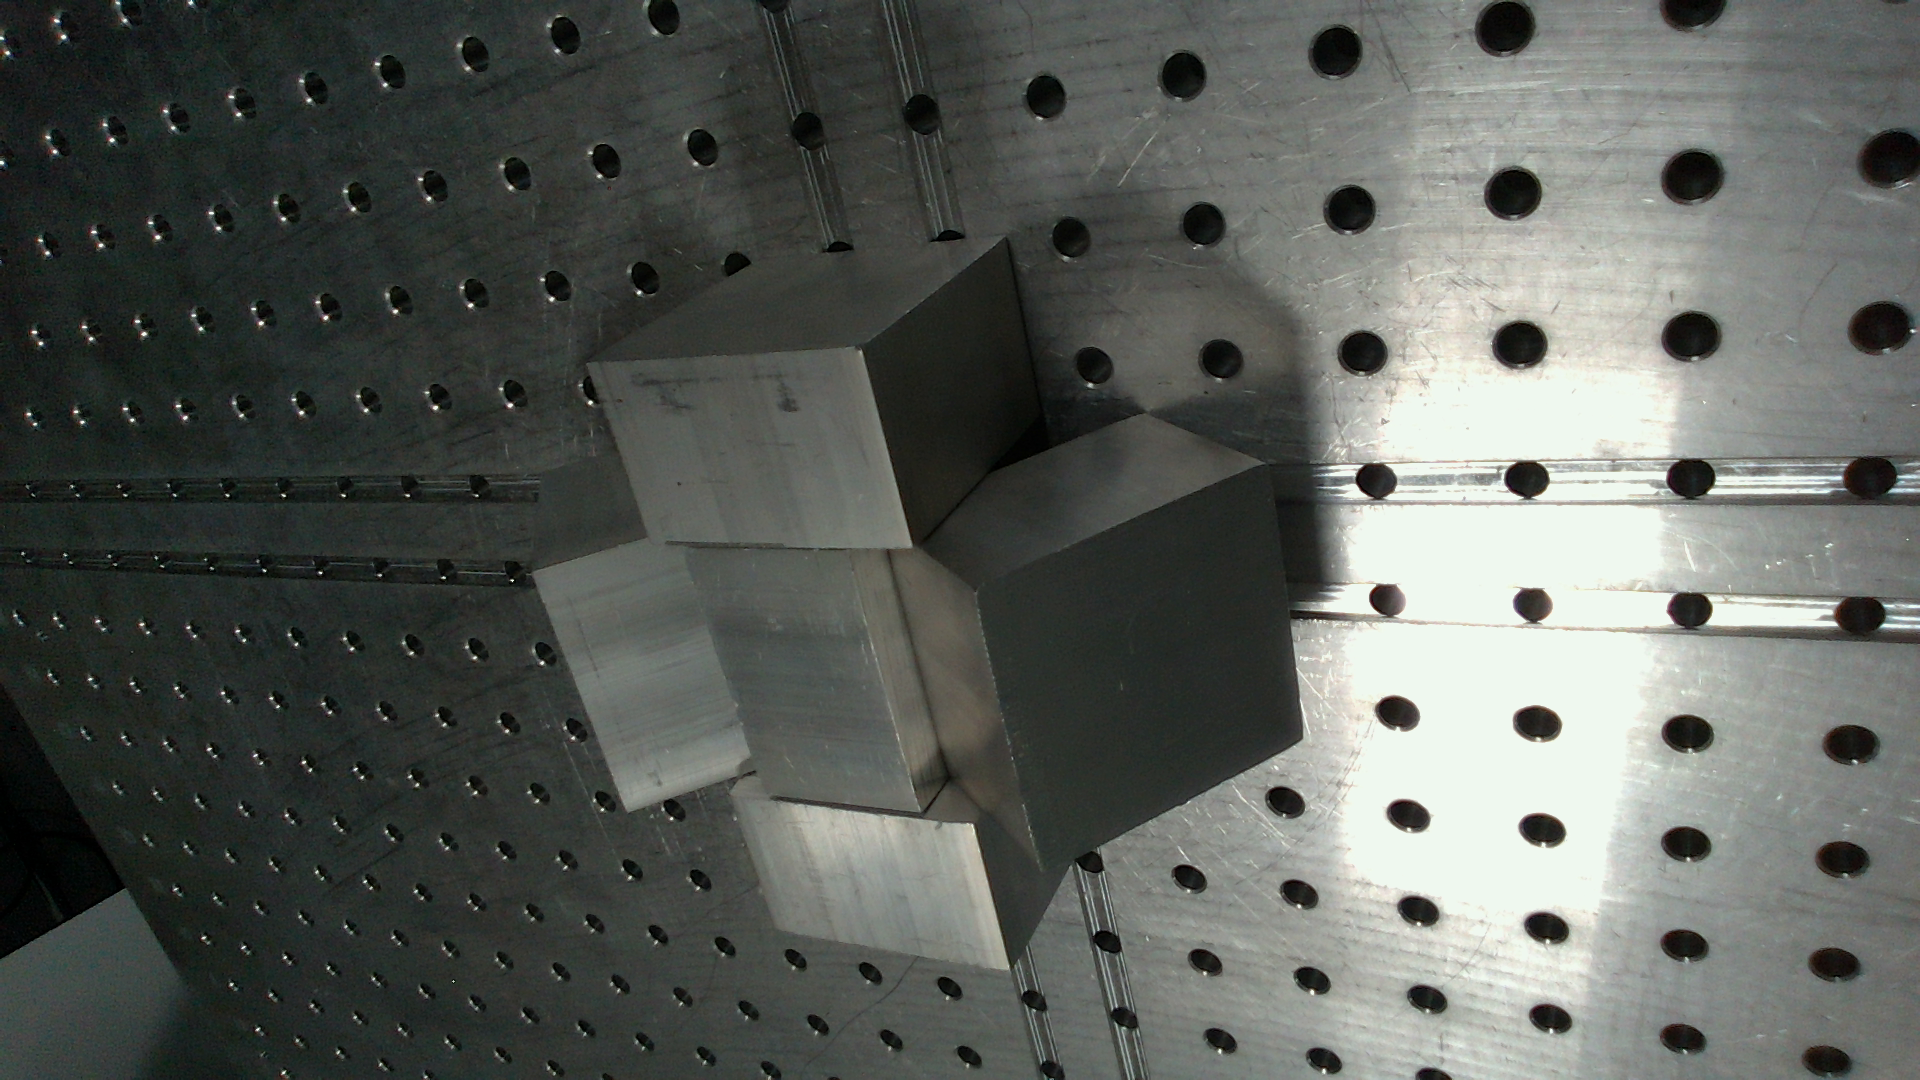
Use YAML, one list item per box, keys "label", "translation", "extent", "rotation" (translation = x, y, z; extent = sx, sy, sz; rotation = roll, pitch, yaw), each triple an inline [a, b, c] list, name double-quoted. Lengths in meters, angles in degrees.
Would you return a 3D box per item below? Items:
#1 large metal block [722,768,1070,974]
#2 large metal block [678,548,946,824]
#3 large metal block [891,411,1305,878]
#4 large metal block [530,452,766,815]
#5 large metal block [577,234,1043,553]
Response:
- label: "large metal block"
  translation: [-0.010, 0.076, 0.411]
  extent: [0.080, 0.080, 0.050]
  rotation: [1, 119, 28]
- label: "large metal block"
  translation: [-0.024, 0.019, 0.384]
  extent: [0.050, 0.080, 0.080]
  rotation: [1, 119, 28]
- label: "large metal block"
  translation: [0.035, 0.023, 0.345]
  extent: [0.050, 0.080, 0.080]
  rotation: [34, 142, 58]
- label: "large metal block"
  translation: [-0.088, 0.020, 0.412]
  extent: [0.050, 0.080, 0.080]
  rotation: [-17, 116, -7]
- label: "large metal block"
  translation: [-0.035, -0.039, 0.354]
  extent: [0.080, 0.080, 0.050]
  rotation: [1, 119, 28]
